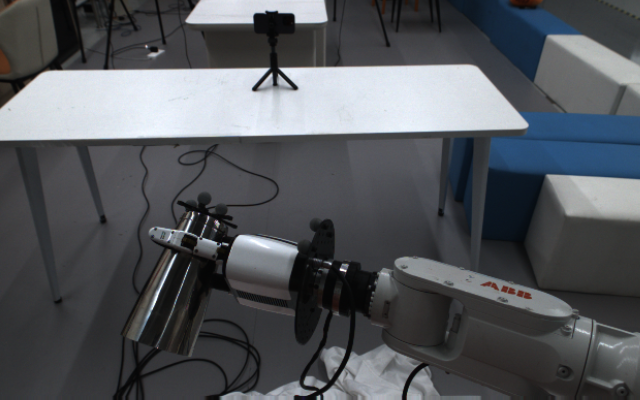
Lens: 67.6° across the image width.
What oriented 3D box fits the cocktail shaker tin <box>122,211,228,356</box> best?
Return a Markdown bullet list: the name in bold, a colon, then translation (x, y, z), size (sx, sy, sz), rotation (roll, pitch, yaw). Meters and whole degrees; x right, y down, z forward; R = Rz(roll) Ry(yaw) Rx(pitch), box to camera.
- **cocktail shaker tin**: translation (-0.180, 0.106, 0.630), size (0.093, 0.093, 0.170), rotation (13, 71, 16)
